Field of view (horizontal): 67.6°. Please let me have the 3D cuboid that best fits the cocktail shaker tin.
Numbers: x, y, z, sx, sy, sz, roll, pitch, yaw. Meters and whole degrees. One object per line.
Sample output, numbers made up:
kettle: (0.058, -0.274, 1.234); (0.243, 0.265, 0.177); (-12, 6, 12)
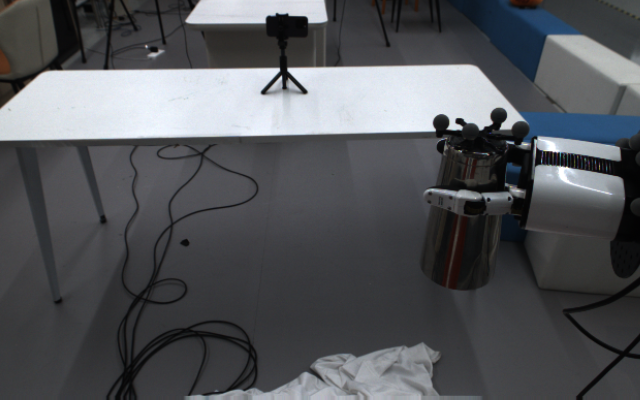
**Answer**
cocktail shaker tin: (0.175, 0.007, 0.568); (0.093, 0.170, 0.093); (-1, 32, 1)
